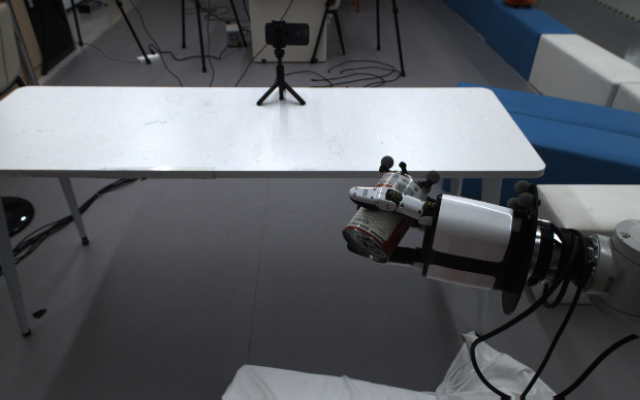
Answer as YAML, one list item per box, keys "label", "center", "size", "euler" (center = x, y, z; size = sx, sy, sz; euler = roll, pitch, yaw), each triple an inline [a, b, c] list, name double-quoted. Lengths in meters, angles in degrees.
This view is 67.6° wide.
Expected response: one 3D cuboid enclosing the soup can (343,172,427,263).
- label: "soup can"
  center: [0.085, 0.019, 0.621]
  size: [0.067, 0.067, 0.101]
  euler: [25, 67, 30]
